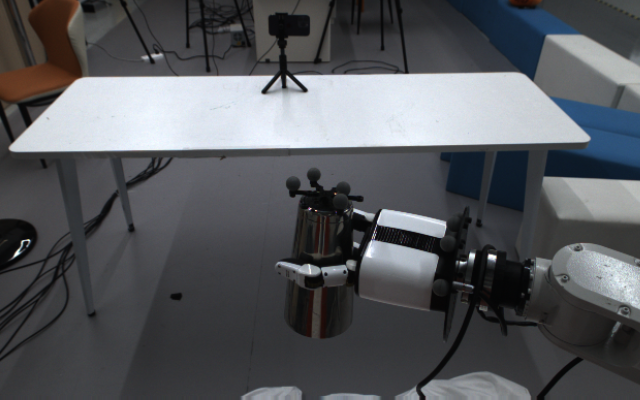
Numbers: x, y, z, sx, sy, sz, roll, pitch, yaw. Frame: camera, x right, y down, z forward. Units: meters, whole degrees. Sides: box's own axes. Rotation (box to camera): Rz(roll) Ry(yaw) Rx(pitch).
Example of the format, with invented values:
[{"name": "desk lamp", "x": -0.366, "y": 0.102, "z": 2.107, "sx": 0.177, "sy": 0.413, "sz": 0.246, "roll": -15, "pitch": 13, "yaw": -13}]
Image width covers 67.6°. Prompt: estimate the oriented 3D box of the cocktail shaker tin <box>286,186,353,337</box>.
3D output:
[{"name": "cocktail shaker tin", "x": 0.004, "y": 0.078, "z": 0.612, "sx": 0.093, "sy": 0.170, "sz": 0.093, "roll": 2, "pitch": 25, "yaw": -1}]
